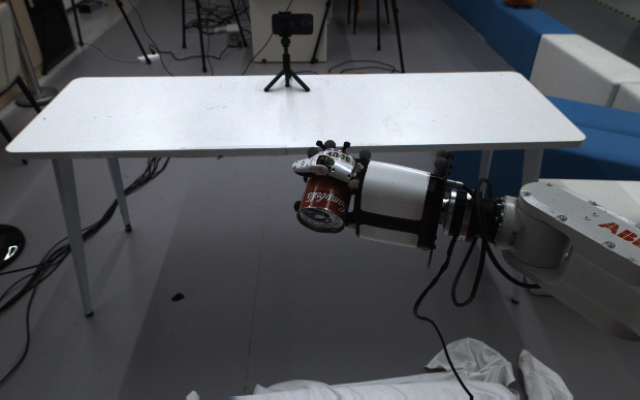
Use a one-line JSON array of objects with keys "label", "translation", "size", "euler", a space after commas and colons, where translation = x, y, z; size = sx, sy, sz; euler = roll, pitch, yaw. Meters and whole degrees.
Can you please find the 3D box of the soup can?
[{"label": "soup can", "translation": [0.013, -0.014, 0.676], "size": [0.067, 0.067, 0.101], "euler": [9, 58, 10]}]
